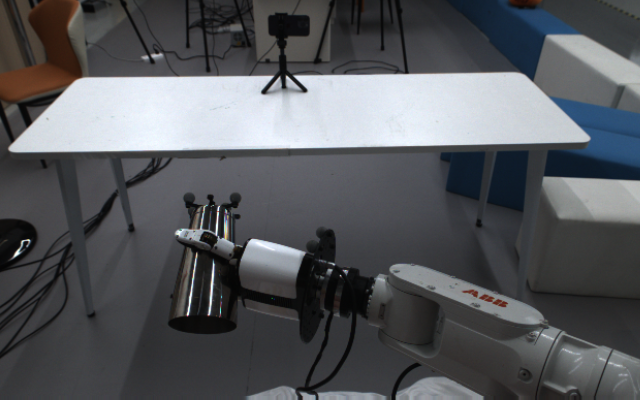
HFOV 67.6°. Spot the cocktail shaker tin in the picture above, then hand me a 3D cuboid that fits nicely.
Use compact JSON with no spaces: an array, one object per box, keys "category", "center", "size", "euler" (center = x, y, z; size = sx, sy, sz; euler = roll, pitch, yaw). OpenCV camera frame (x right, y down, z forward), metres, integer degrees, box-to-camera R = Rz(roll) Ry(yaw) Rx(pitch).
[{"category":"cocktail shaker tin","center":[-0.162,0.096,0.692],"size":[0.093,0.093,0.170],"euler":[0,59,-3]}]
